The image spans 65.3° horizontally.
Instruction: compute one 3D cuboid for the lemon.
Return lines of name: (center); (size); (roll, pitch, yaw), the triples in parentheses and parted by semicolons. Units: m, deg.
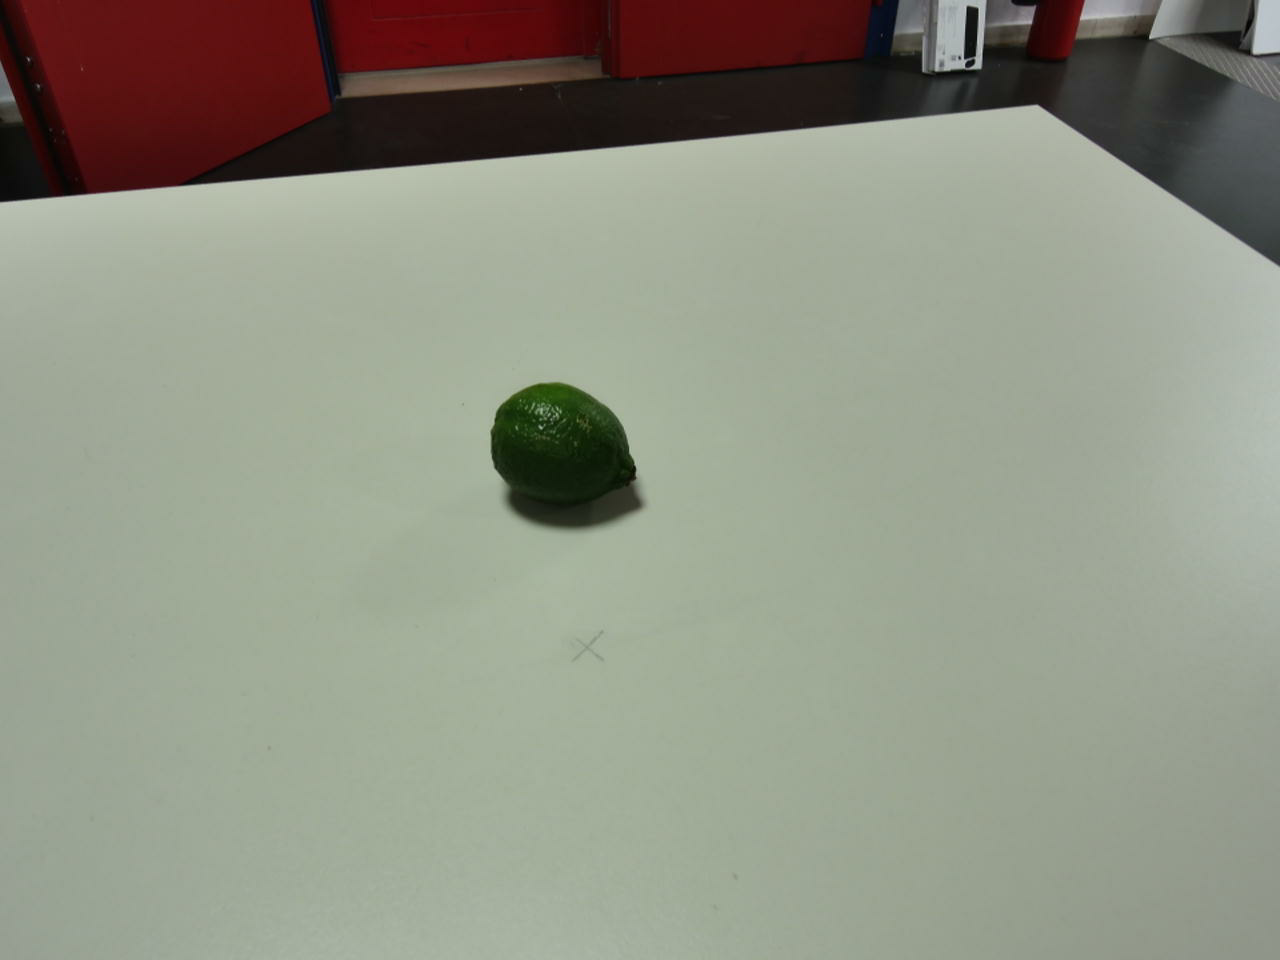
lemon: (-0.034, -0.016, 0.423); (0.057, 0.051, 0.054); (-11, 40, -14)
